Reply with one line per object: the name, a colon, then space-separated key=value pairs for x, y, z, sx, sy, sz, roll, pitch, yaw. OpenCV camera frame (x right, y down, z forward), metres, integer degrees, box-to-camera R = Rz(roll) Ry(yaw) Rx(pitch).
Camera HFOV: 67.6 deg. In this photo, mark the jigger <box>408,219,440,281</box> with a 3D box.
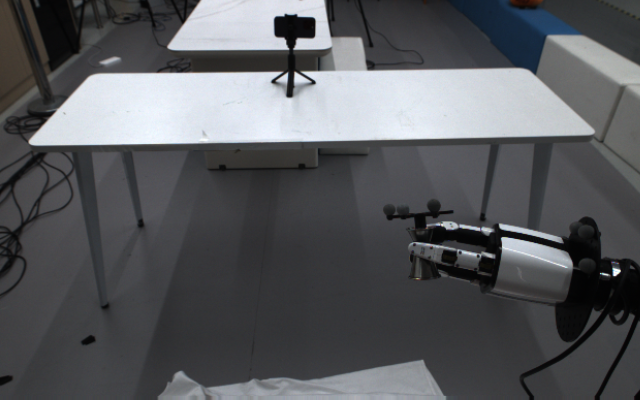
jigger: x=0.138 y=0.069 z=0.653 sx=0.043 sy=0.071 sz=0.043 roll=-4 pitch=1 yaw=0
